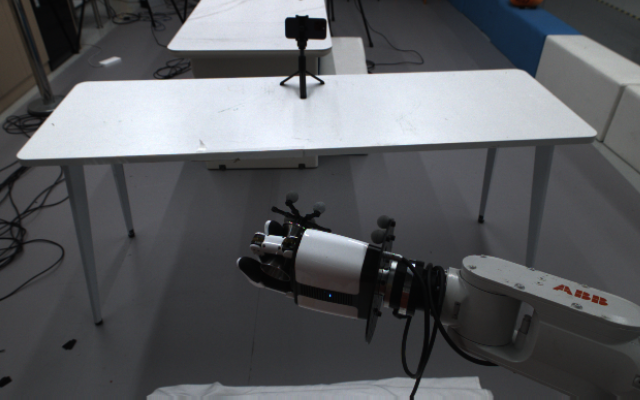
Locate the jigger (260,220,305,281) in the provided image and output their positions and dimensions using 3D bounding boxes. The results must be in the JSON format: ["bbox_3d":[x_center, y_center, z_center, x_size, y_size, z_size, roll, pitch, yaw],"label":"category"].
[{"bbox_3d":[-0.044,0.065,0.641,0.043,0.043,0.071,15,58,18],"label":"jigger"}]
